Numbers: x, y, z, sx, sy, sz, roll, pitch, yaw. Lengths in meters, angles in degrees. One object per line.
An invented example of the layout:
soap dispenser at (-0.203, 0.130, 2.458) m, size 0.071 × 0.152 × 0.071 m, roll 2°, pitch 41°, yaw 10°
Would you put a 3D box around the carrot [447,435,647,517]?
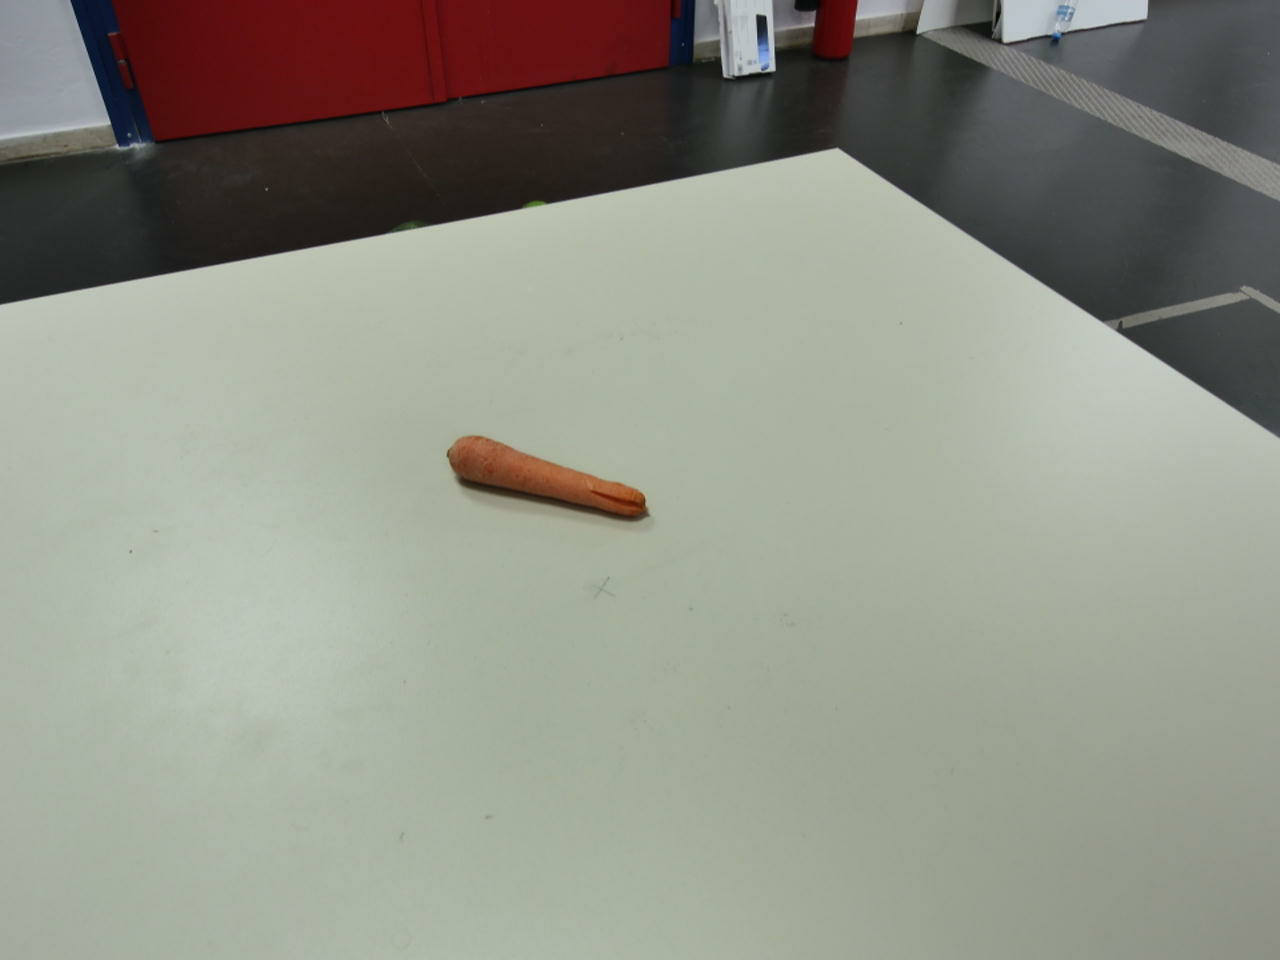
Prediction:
carrot at (-0.060, -0.002, 0.627) m, size 0.136 × 0.032 × 0.030 m, roll 13°, pitch 40°, yaw 16°
